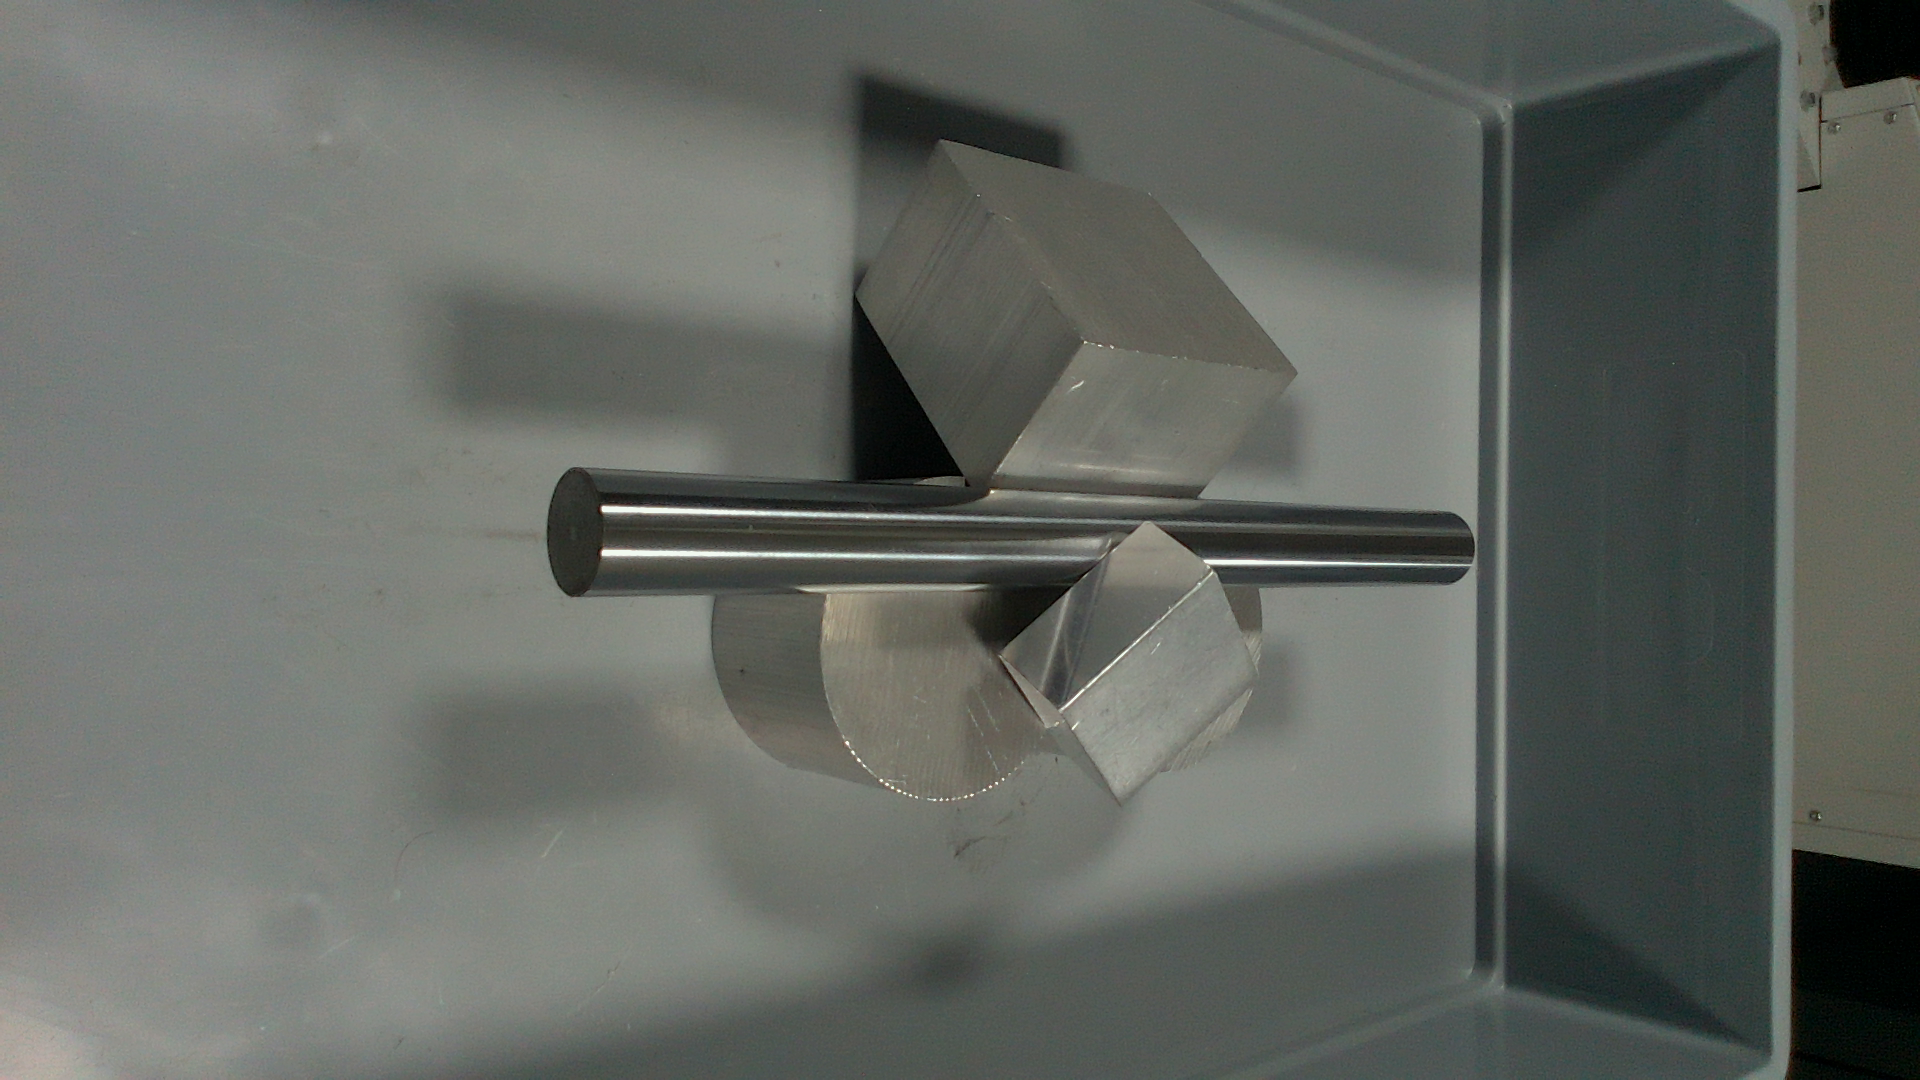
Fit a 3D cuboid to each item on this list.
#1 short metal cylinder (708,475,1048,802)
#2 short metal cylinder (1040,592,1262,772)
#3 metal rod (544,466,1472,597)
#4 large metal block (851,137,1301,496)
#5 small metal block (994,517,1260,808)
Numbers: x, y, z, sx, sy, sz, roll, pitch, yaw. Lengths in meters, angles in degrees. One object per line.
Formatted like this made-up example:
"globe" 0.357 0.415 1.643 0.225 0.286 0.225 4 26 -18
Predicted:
"short metal cylinder" -0.017 0.024 0.357 0.080 0.050 0.080 0 90 -40
"short metal cylinder" 0.044 0.026 0.409 0.080 0.050 0.080 0 90 -40
"metal rod" 0.042 0.000 0.358 0.301 0.025 0.025 1 89 -40
"large metal block" 0.030 -0.056 0.369 0.080 0.050 0.080 1 46 -40
"small metal block" 0.043 0.031 0.345 0.050 0.025 0.050 -42 137 -9
